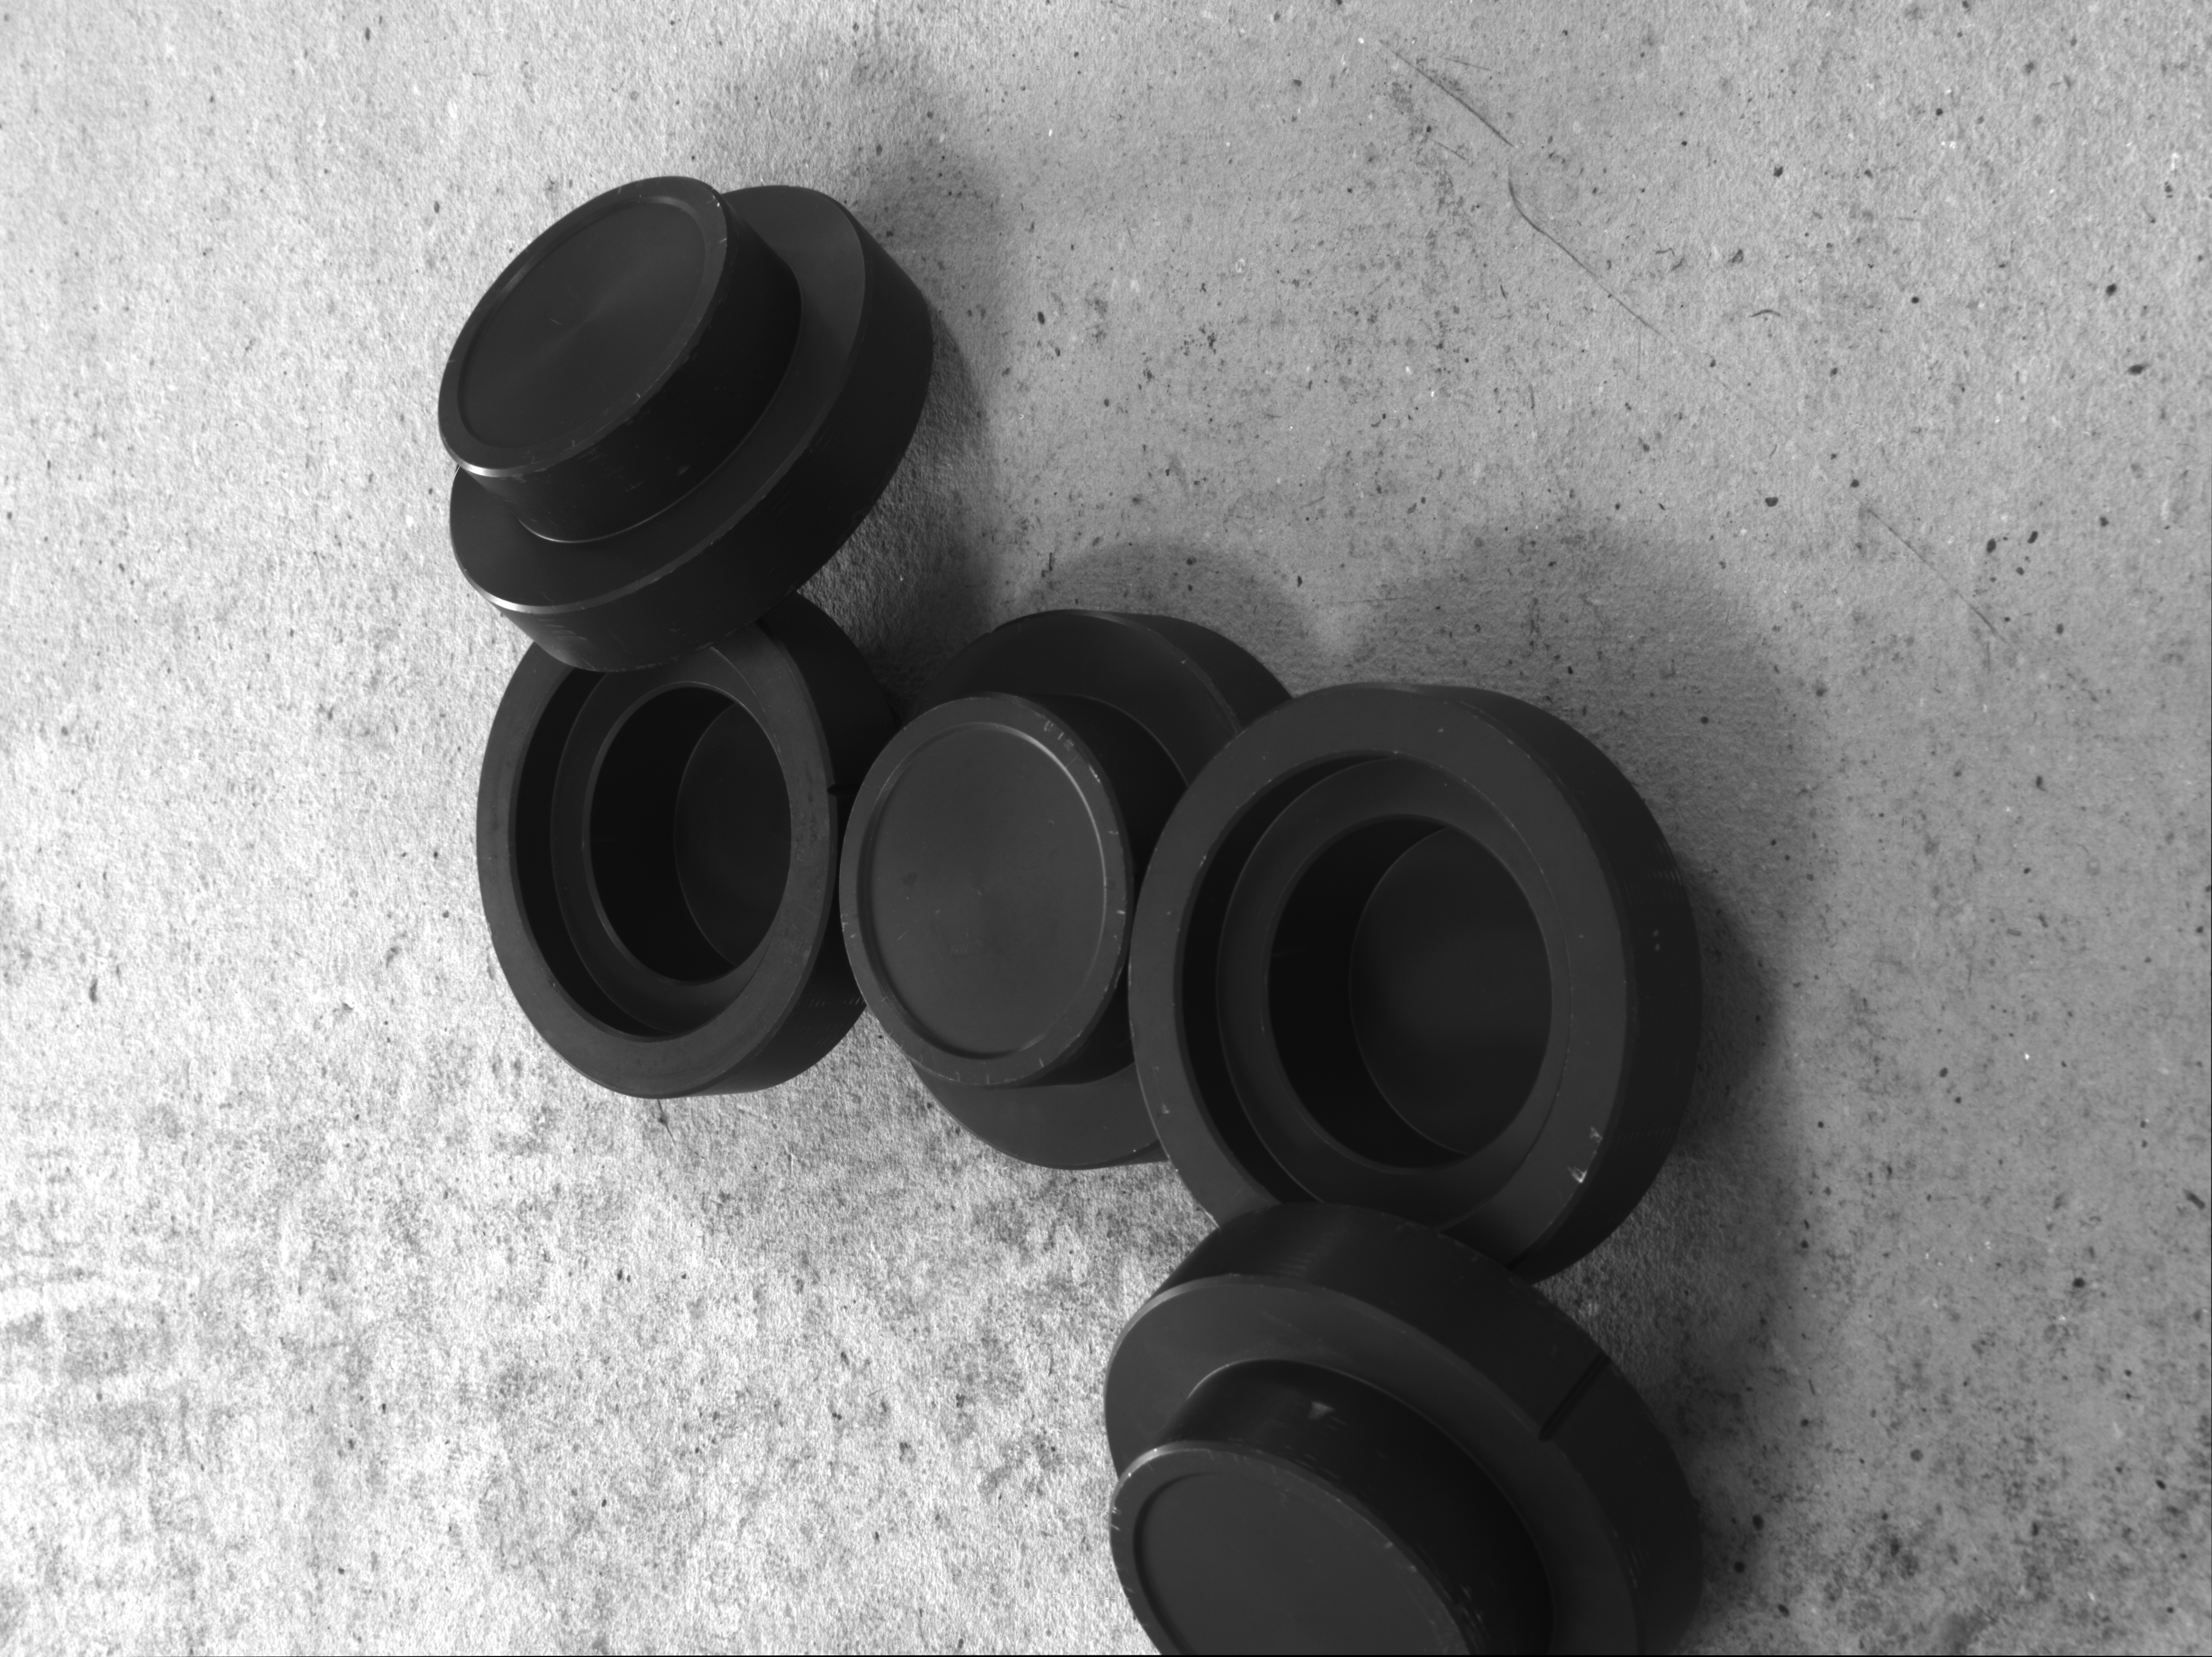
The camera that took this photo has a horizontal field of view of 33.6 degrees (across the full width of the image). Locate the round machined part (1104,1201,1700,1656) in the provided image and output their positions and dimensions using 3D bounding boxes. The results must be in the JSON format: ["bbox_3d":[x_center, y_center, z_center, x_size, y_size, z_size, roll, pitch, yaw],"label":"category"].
[{"bbox_3d":[0.039,0.110,0.571,0.098,0.042,0.098,22,132,27],"label":"round machined part"}]

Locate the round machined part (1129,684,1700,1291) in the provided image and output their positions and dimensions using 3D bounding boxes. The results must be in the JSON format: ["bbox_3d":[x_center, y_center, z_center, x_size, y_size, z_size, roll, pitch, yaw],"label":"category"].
[{"bbox_3d":[0.054,0.026,0.588,0.098,0.042,0.098,0,90,41],"label":"round machined part"}]

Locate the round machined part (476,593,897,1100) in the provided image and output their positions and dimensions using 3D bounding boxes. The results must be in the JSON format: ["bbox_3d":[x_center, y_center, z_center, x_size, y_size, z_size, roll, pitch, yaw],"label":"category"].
[{"bbox_3d":[-0.072,0.001,0.694,0.098,0.042,0.098,0,90,41],"label":"round machined part"}]

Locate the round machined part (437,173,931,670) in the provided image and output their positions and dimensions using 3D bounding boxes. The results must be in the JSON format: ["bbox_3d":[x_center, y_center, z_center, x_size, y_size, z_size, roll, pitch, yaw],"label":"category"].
[{"bbox_3d":[-0.084,-0.081,0.676,0.098,0.042,0.098,-21,47,25],"label":"round machined part"}]

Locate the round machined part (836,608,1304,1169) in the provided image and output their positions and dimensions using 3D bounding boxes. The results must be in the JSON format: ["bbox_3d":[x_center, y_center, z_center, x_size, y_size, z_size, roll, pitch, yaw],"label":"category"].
[{"bbox_3d":[-0.009,0.010,0.640,0.098,0.042,0.098,-3,86,41],"label":"round machined part"}]
